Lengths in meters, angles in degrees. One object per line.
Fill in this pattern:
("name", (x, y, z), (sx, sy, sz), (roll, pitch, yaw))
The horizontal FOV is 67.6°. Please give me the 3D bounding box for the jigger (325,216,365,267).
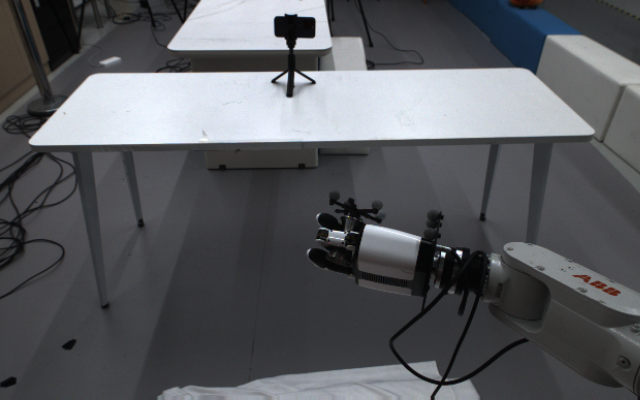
("jigger", (0.042, 0.063, 0.739), (0.043, 0.043, 0.071), (13, 70, 16))
